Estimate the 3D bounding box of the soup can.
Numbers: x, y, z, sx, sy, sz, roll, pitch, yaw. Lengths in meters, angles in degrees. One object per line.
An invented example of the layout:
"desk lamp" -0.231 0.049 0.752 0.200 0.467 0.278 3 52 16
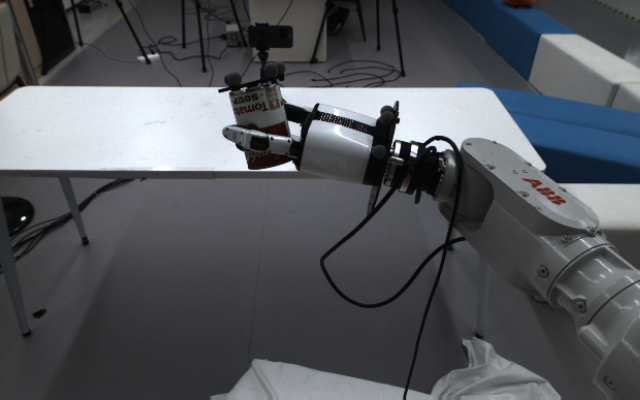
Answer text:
"soup can" -0.075 -0.098 0.639 0.067 0.101 0.067 -12 17 4
